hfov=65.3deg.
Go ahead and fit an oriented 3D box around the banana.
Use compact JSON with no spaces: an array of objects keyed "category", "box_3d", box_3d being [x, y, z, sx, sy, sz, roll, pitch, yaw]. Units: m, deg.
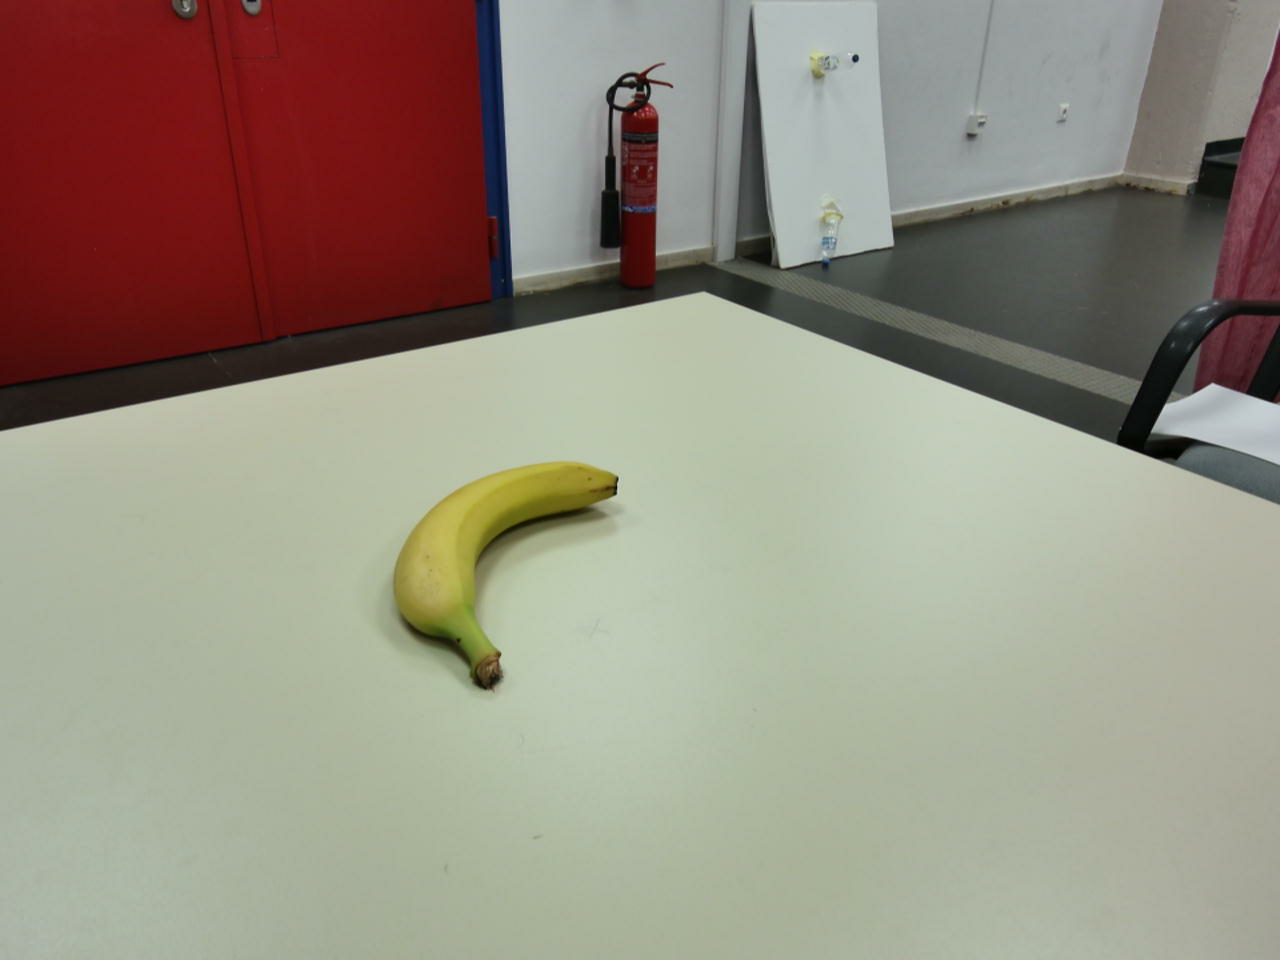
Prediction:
[{"category":"banana","box_3d":[-0.084,0.036,0.565,0.094,0.041,0.196,9,27,16]}]
